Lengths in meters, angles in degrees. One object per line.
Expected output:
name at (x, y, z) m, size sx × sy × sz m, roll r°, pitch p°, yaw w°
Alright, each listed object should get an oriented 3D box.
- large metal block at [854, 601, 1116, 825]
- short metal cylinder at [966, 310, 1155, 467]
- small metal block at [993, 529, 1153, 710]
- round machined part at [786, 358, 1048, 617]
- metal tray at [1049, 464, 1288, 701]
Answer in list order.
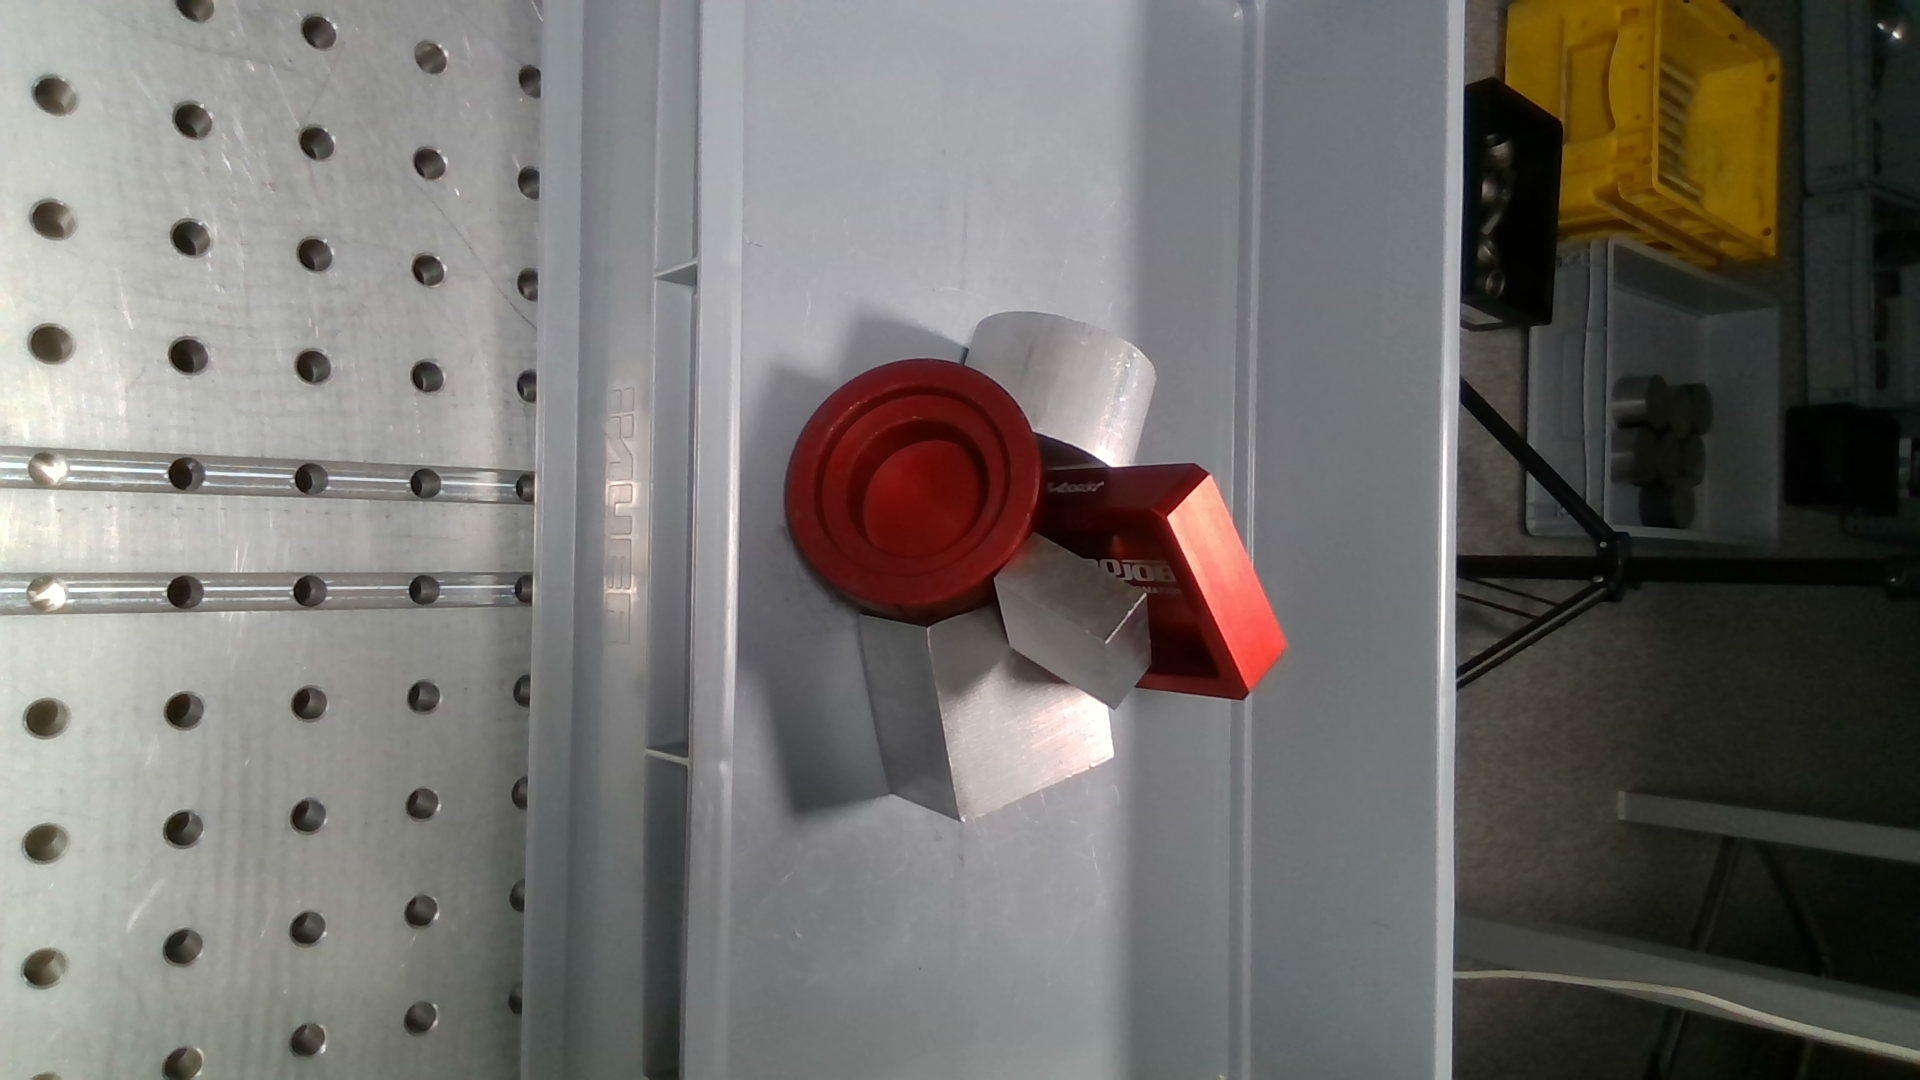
large metal block at (0.011, 0.061, 0.565) m, size 0.080 × 0.050 × 0.080 m, roll -17°, pitch 101°, yaw -34°
short metal cylinder at (0.037, -0.054, 0.577) m, size 0.080 × 0.080 × 0.050 m, roll 28°, pitch 72°, yaw -37°
small metal block at (0.043, 0.030, 0.512) m, size 0.025 × 0.050 × 0.050 m, roll -48°, pitch 151°, yaw -22°
round machined part at (-0.014, -0.017, 0.534) m, size 0.042 × 0.098 × 0.098 m, roll 54°, pitch 50°, yaw -69°
metal tray at (0.060, 0.016, 0.563) m, size 0.030 × 0.130 × 0.090 m, roll -43°, pitch 116°, yaw -31°
